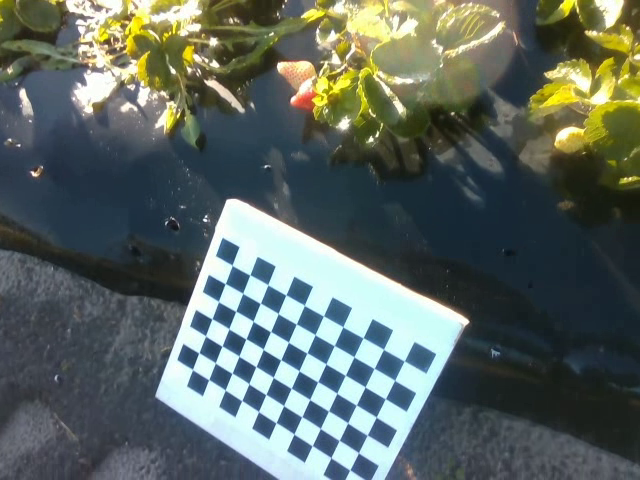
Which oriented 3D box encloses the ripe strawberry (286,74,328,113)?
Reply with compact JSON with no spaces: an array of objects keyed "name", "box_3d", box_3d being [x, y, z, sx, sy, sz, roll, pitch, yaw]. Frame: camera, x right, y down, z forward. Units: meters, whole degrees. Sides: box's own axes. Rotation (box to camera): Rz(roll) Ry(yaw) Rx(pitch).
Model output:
[{"name":"ripe strawberry","box_3d":[-0.011,-0.144,0.544,0.056,0.037,0.040,-7,16,-41]}]
